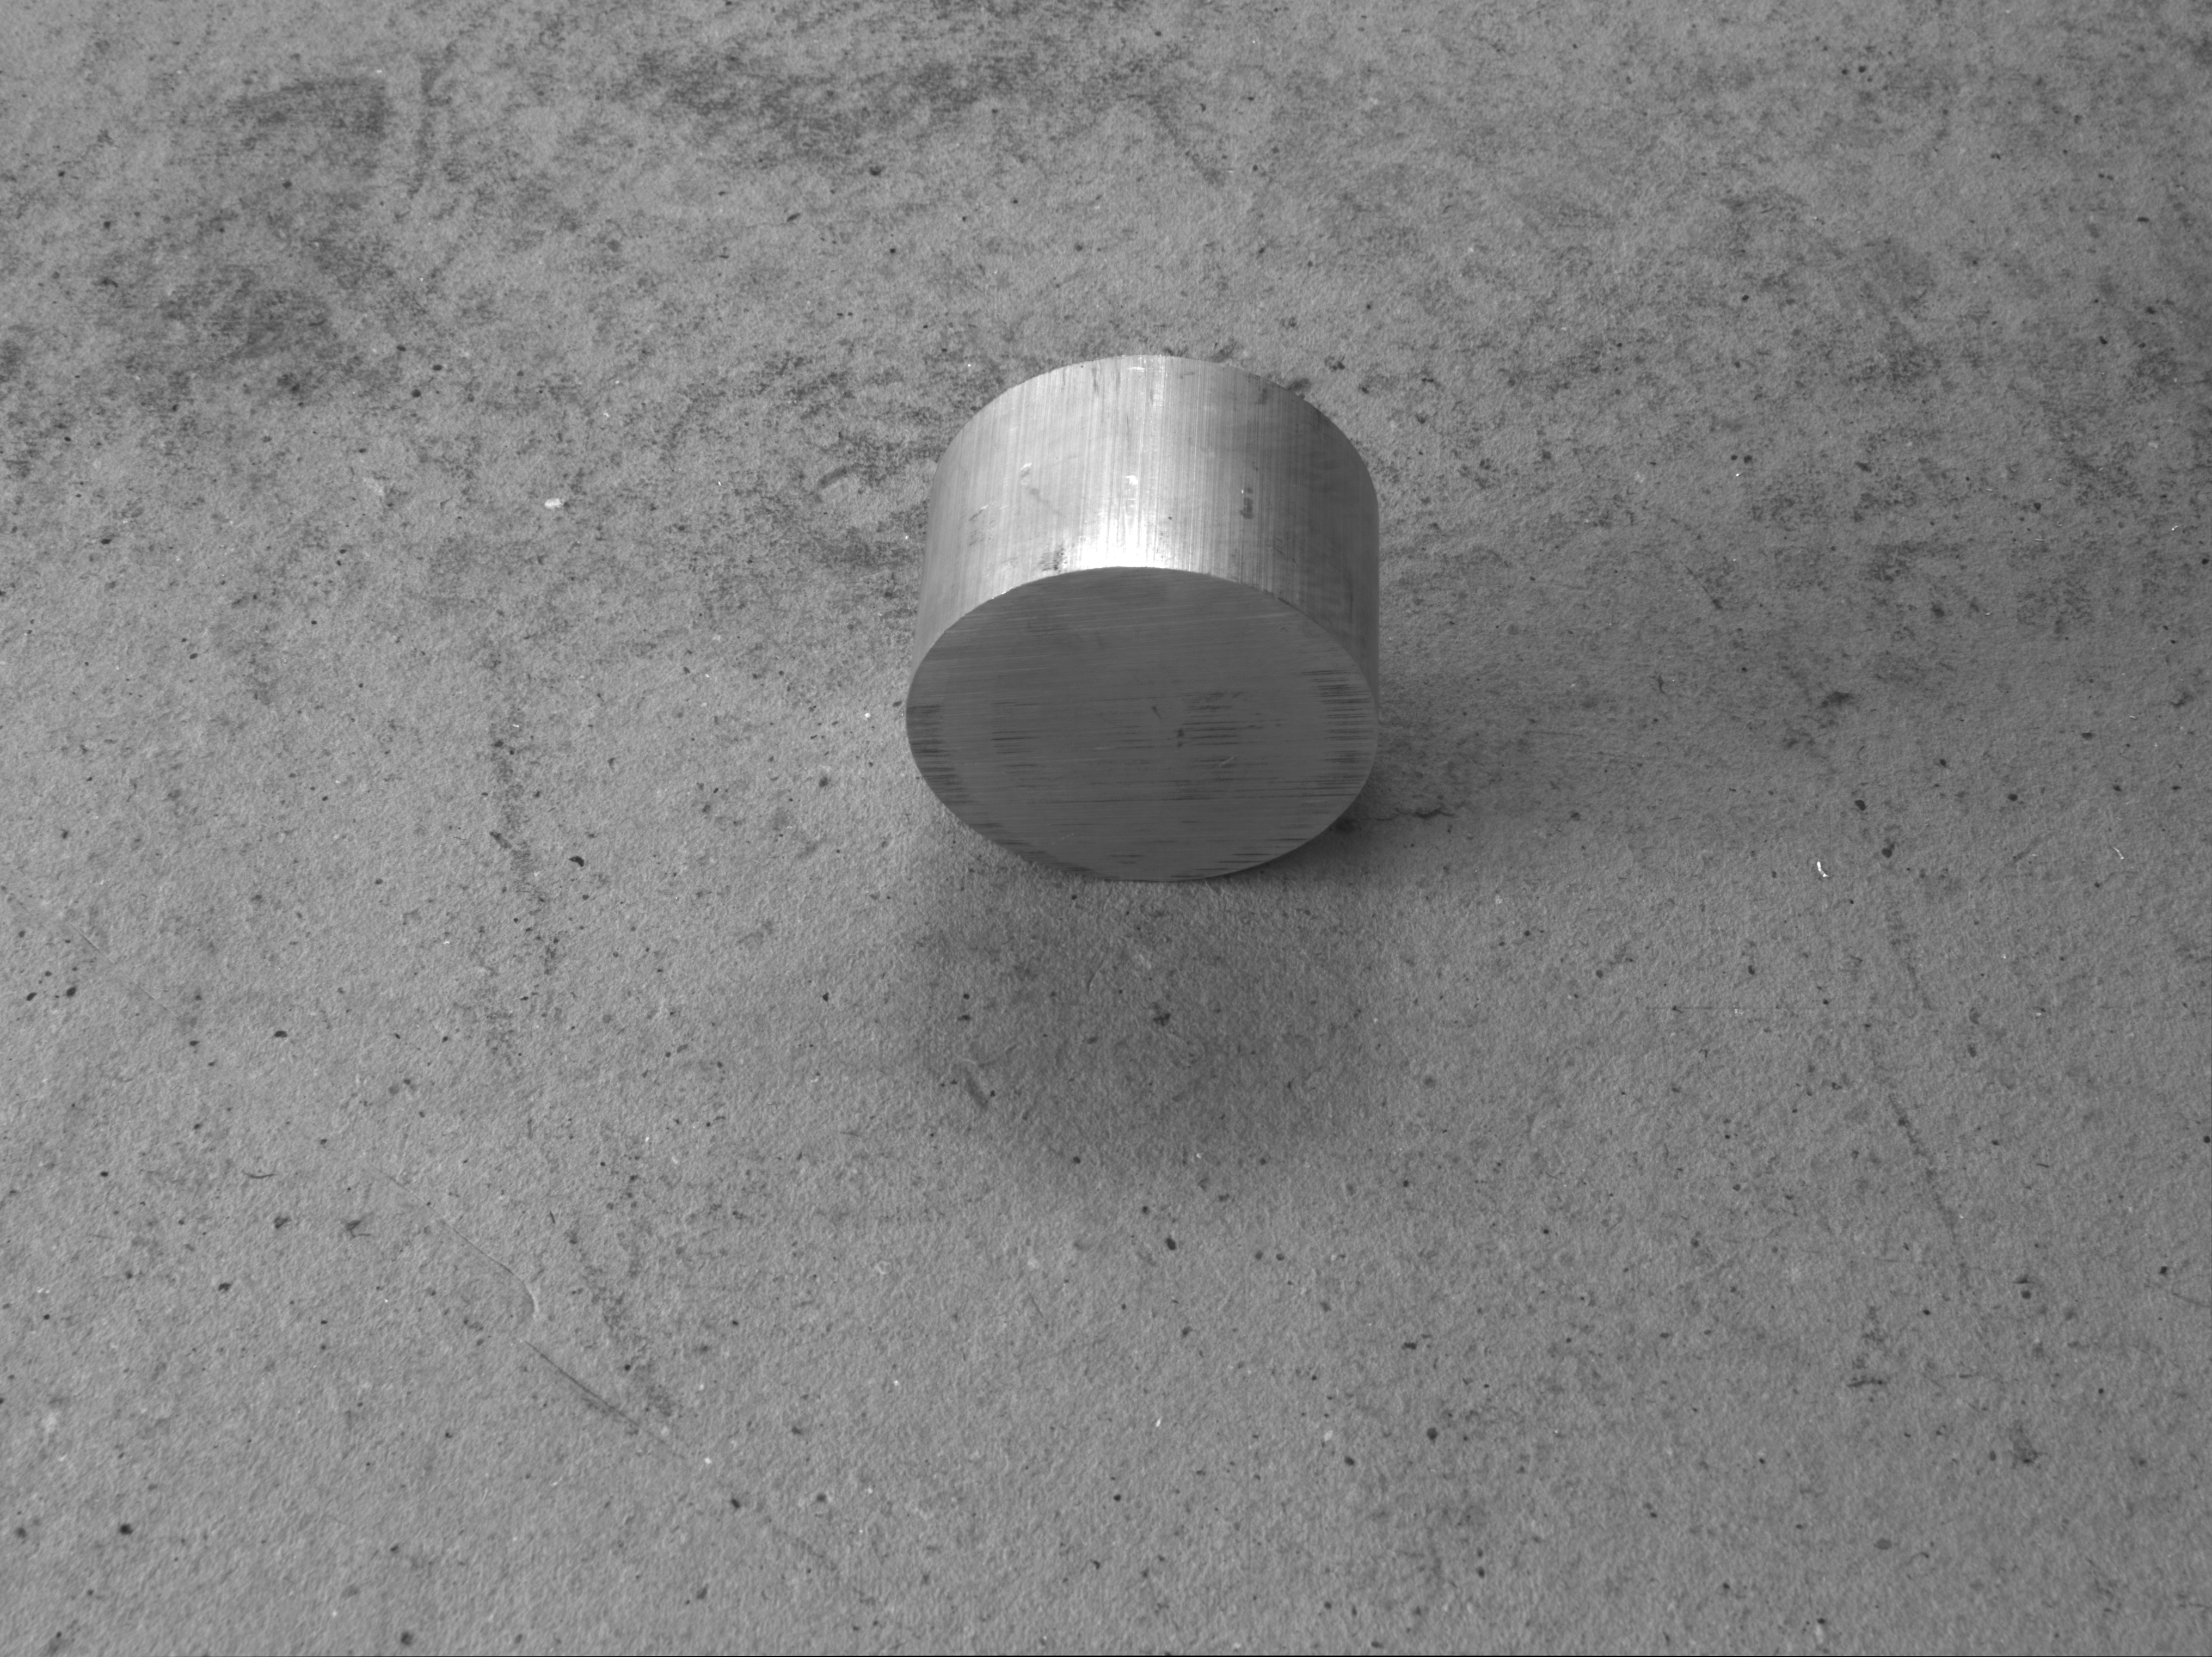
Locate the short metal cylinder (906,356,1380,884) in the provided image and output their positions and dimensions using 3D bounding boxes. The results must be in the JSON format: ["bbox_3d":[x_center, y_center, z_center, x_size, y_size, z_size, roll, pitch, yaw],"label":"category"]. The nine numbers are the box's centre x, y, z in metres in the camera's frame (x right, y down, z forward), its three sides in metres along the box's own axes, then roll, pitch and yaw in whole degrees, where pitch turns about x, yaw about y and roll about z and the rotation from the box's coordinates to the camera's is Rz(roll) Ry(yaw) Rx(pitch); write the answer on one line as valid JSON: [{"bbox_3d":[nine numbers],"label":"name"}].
[{"bbox_3d":[0.007,-0.035,0.637,0.080,0.080,0.050,1,50,1],"label":"short metal cylinder"}]
